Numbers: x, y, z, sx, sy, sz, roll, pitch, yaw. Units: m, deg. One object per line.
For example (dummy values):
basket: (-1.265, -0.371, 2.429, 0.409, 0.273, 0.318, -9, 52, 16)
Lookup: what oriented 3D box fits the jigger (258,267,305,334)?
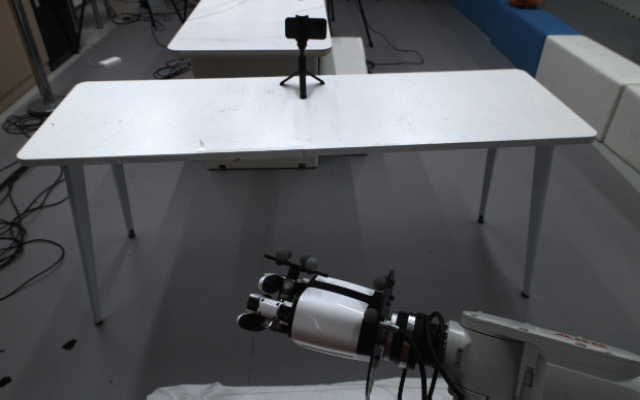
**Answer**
jigger: (-0.046, 0.135, 0.636, 0.043, 0.071, 0.043, 19, -6, 2)
